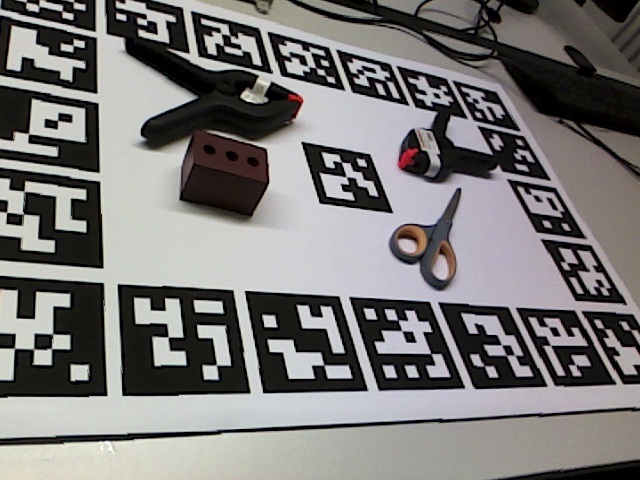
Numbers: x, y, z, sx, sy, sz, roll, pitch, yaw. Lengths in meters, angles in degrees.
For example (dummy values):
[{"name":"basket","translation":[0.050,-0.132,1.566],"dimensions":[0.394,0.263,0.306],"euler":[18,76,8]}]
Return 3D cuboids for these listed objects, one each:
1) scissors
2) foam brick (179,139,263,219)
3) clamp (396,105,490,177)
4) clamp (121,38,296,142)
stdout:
[{"name":"scissors","translation":[0.143,-0.019,0.766],"dimensions":[0.087,0.016,0.202],"euler":[40,41,-6]},{"name":"foam brick","translation":[-0.102,-0.062,0.638],"dimensions":[0.078,0.051,0.053],"euler":[9,50,-19]},{"name":"clamp","translation":[0.165,-0.131,0.876],"dimensions":[0.164,0.037,0.122],"euler":[-25,75,-42]},{"name":"clamp","translation":[-0.121,-0.166,0.727],"dimensions":[0.201,0.037,0.166],"euler":[2,49,-31]}]
